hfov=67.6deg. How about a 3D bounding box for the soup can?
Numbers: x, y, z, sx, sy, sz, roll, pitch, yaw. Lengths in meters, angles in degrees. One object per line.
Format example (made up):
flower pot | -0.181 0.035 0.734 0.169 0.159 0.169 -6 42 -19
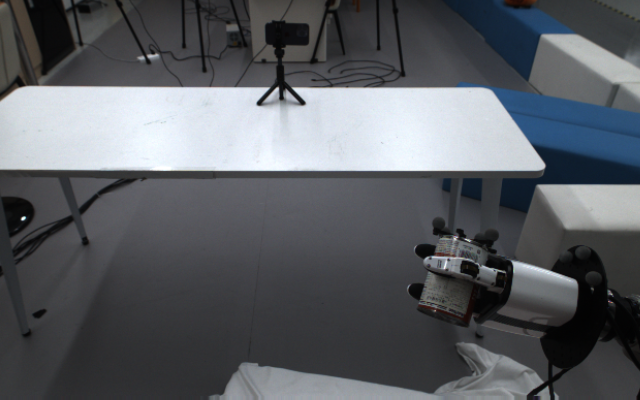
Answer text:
soup can | 0.173 0.102 0.627 0.067 0.067 0.101 16 76 19
